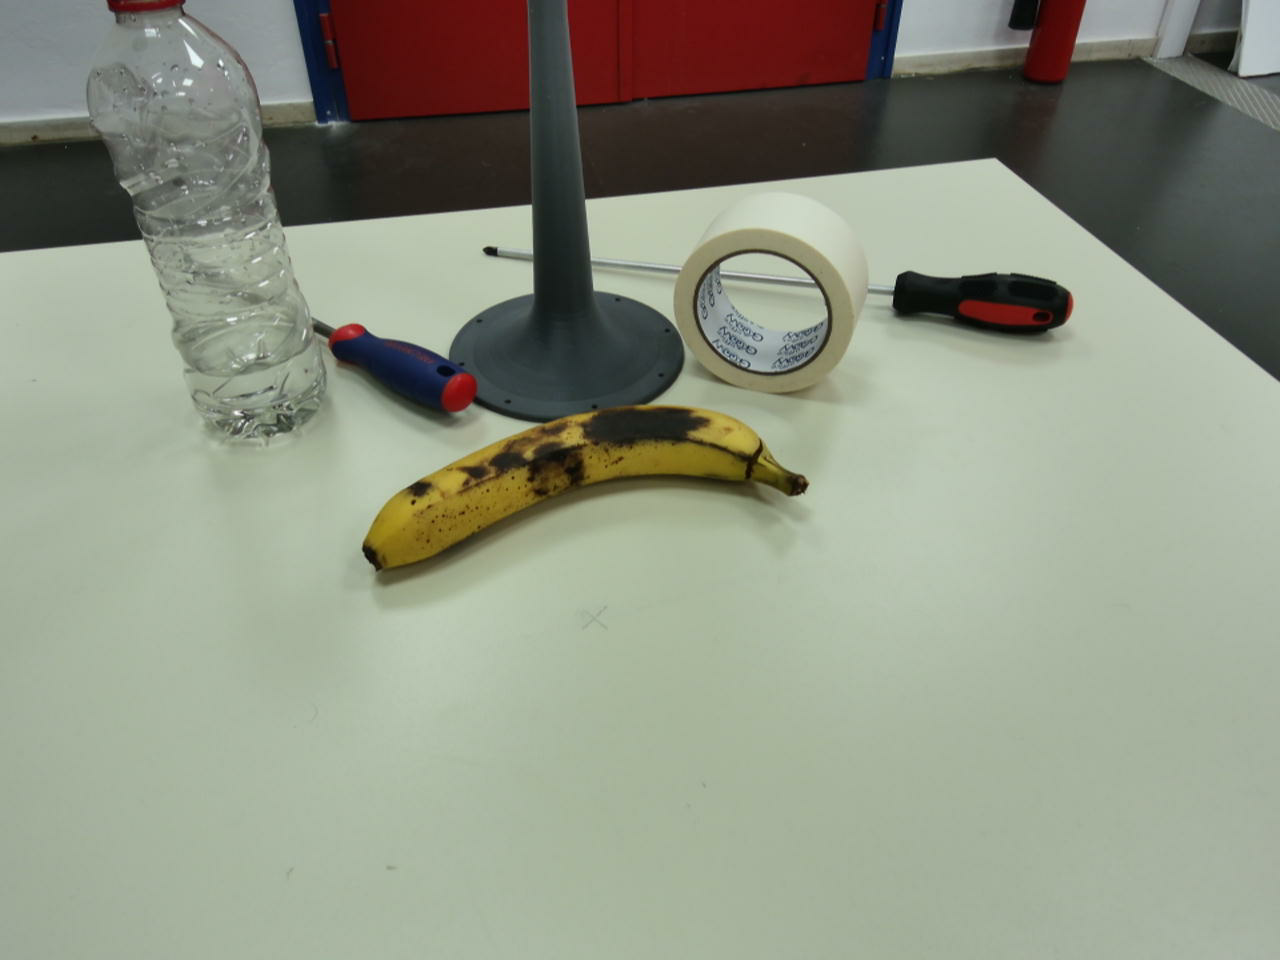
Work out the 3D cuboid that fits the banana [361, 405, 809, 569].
[{"bbox_3d":[-0.031,-0.004,0.518,0.222,0.037,0.084,-8,40,-10],"label":"banana"}]
